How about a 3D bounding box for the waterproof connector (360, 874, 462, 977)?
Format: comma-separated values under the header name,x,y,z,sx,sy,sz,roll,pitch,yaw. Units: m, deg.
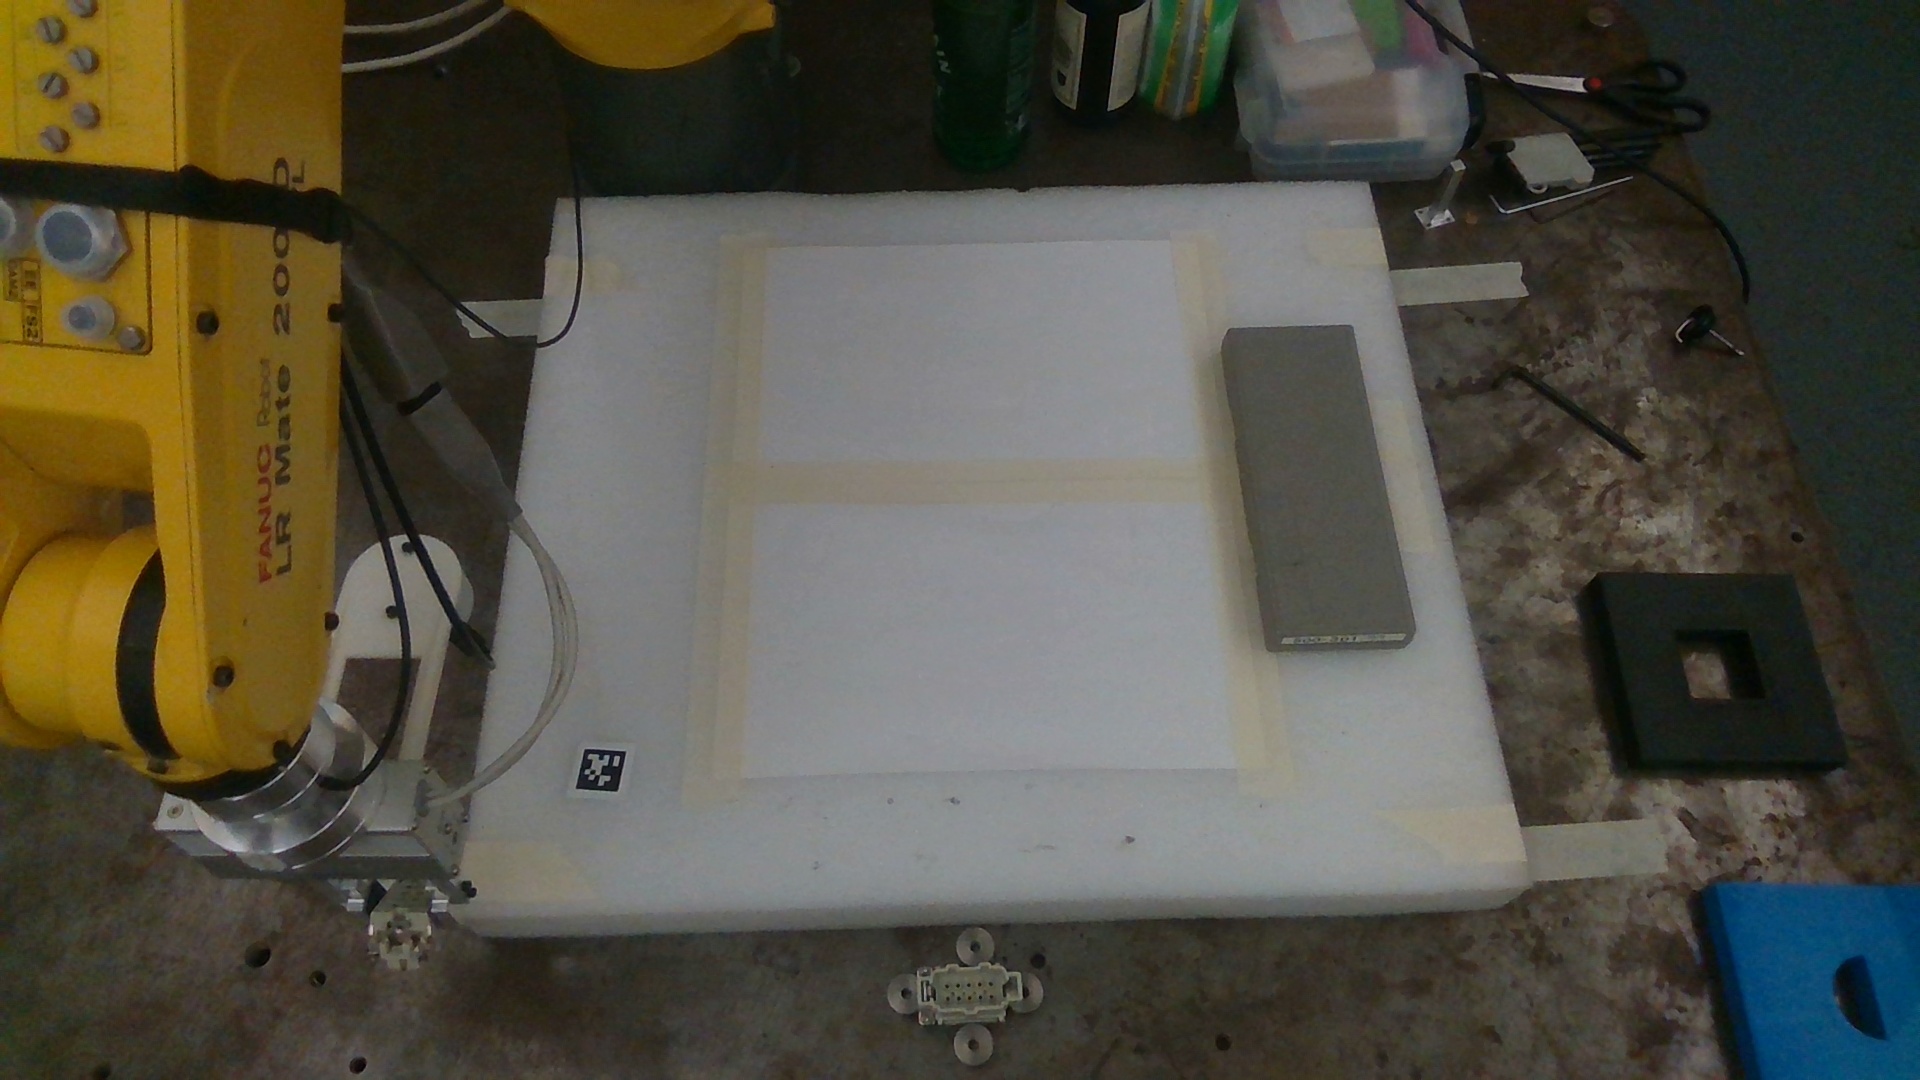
name,x,y,z,sx,sy,sz,roll,pitch,yaw
waterproof connector,-0.307,0.215,0.778,0.037,0.069,0.038,1,103,-3
